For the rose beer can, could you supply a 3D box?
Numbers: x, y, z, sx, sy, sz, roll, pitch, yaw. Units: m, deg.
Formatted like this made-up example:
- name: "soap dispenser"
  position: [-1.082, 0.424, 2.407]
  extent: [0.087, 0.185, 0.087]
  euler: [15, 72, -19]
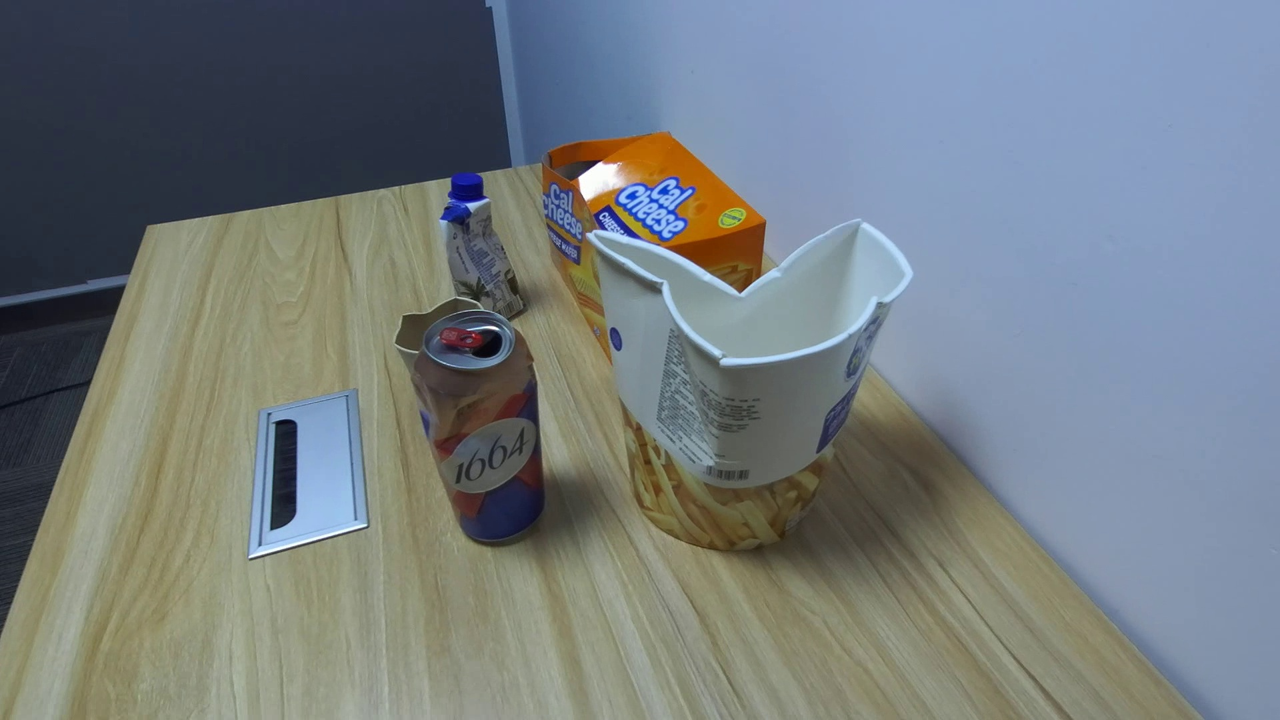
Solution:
- name: "rose beer can"
  position: [-0.102, 0.050, 0.473]
  extent: [0.076, 0.167, 0.065]
  euler: [-19, 44, -25]

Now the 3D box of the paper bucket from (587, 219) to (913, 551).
- name: "paper bucket"
  position: [0.074, 0.010, 0.488]
  extent: [0.163, 0.202, 0.168]
  euler: [-20, 47, -23]

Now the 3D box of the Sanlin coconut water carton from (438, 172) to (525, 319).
- name: "Sanlin coconut water carton"
  position: [-0.163, -0.102, 0.675]
  extent: [0.056, 0.145, 0.068]
  euler: [20, 50, 35]

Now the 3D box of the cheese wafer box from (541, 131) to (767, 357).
- name: "cheese wafer box"
  position: [0.003, -0.115, 0.695]
  extent: [0.152, 0.132, 0.229]
  euler: [-15, 42, -15]
